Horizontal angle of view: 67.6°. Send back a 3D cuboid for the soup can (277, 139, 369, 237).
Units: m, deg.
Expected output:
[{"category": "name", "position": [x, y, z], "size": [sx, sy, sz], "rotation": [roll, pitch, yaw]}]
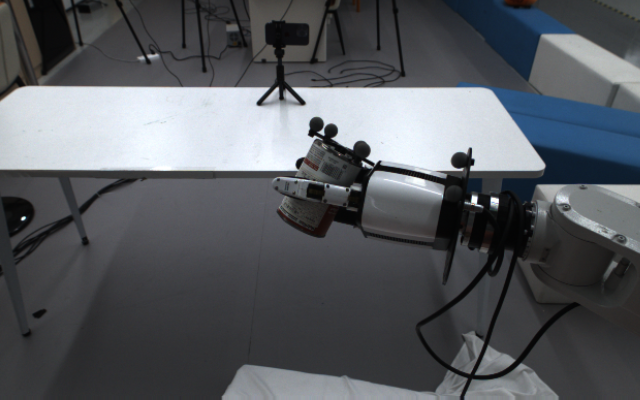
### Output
[{"category": "soup can", "position": [0.001, -0.014, 0.588], "size": [0.067, 0.101, 0.067], "rotation": [27, 10, -5]}]
